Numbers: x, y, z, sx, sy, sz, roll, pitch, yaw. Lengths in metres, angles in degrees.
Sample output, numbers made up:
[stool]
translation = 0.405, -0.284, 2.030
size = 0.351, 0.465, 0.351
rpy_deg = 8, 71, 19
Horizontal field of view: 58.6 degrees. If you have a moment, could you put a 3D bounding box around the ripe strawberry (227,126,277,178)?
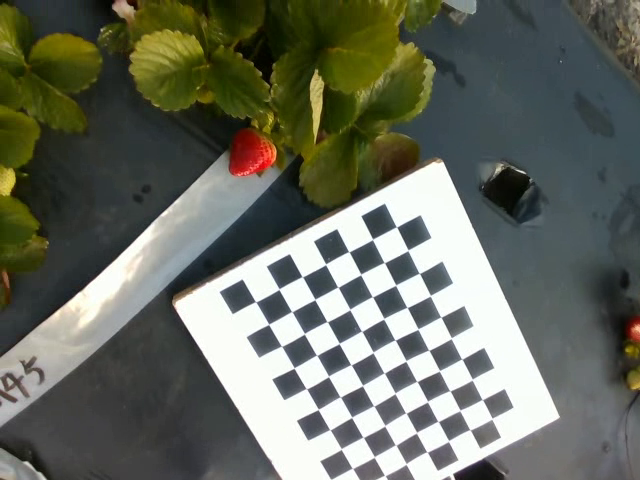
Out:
[ripe strawberry]
translation = -0.055, -0.064, 0.447
size = 0.055, 0.050, 0.035
rpy_deg = -39, 21, -15
